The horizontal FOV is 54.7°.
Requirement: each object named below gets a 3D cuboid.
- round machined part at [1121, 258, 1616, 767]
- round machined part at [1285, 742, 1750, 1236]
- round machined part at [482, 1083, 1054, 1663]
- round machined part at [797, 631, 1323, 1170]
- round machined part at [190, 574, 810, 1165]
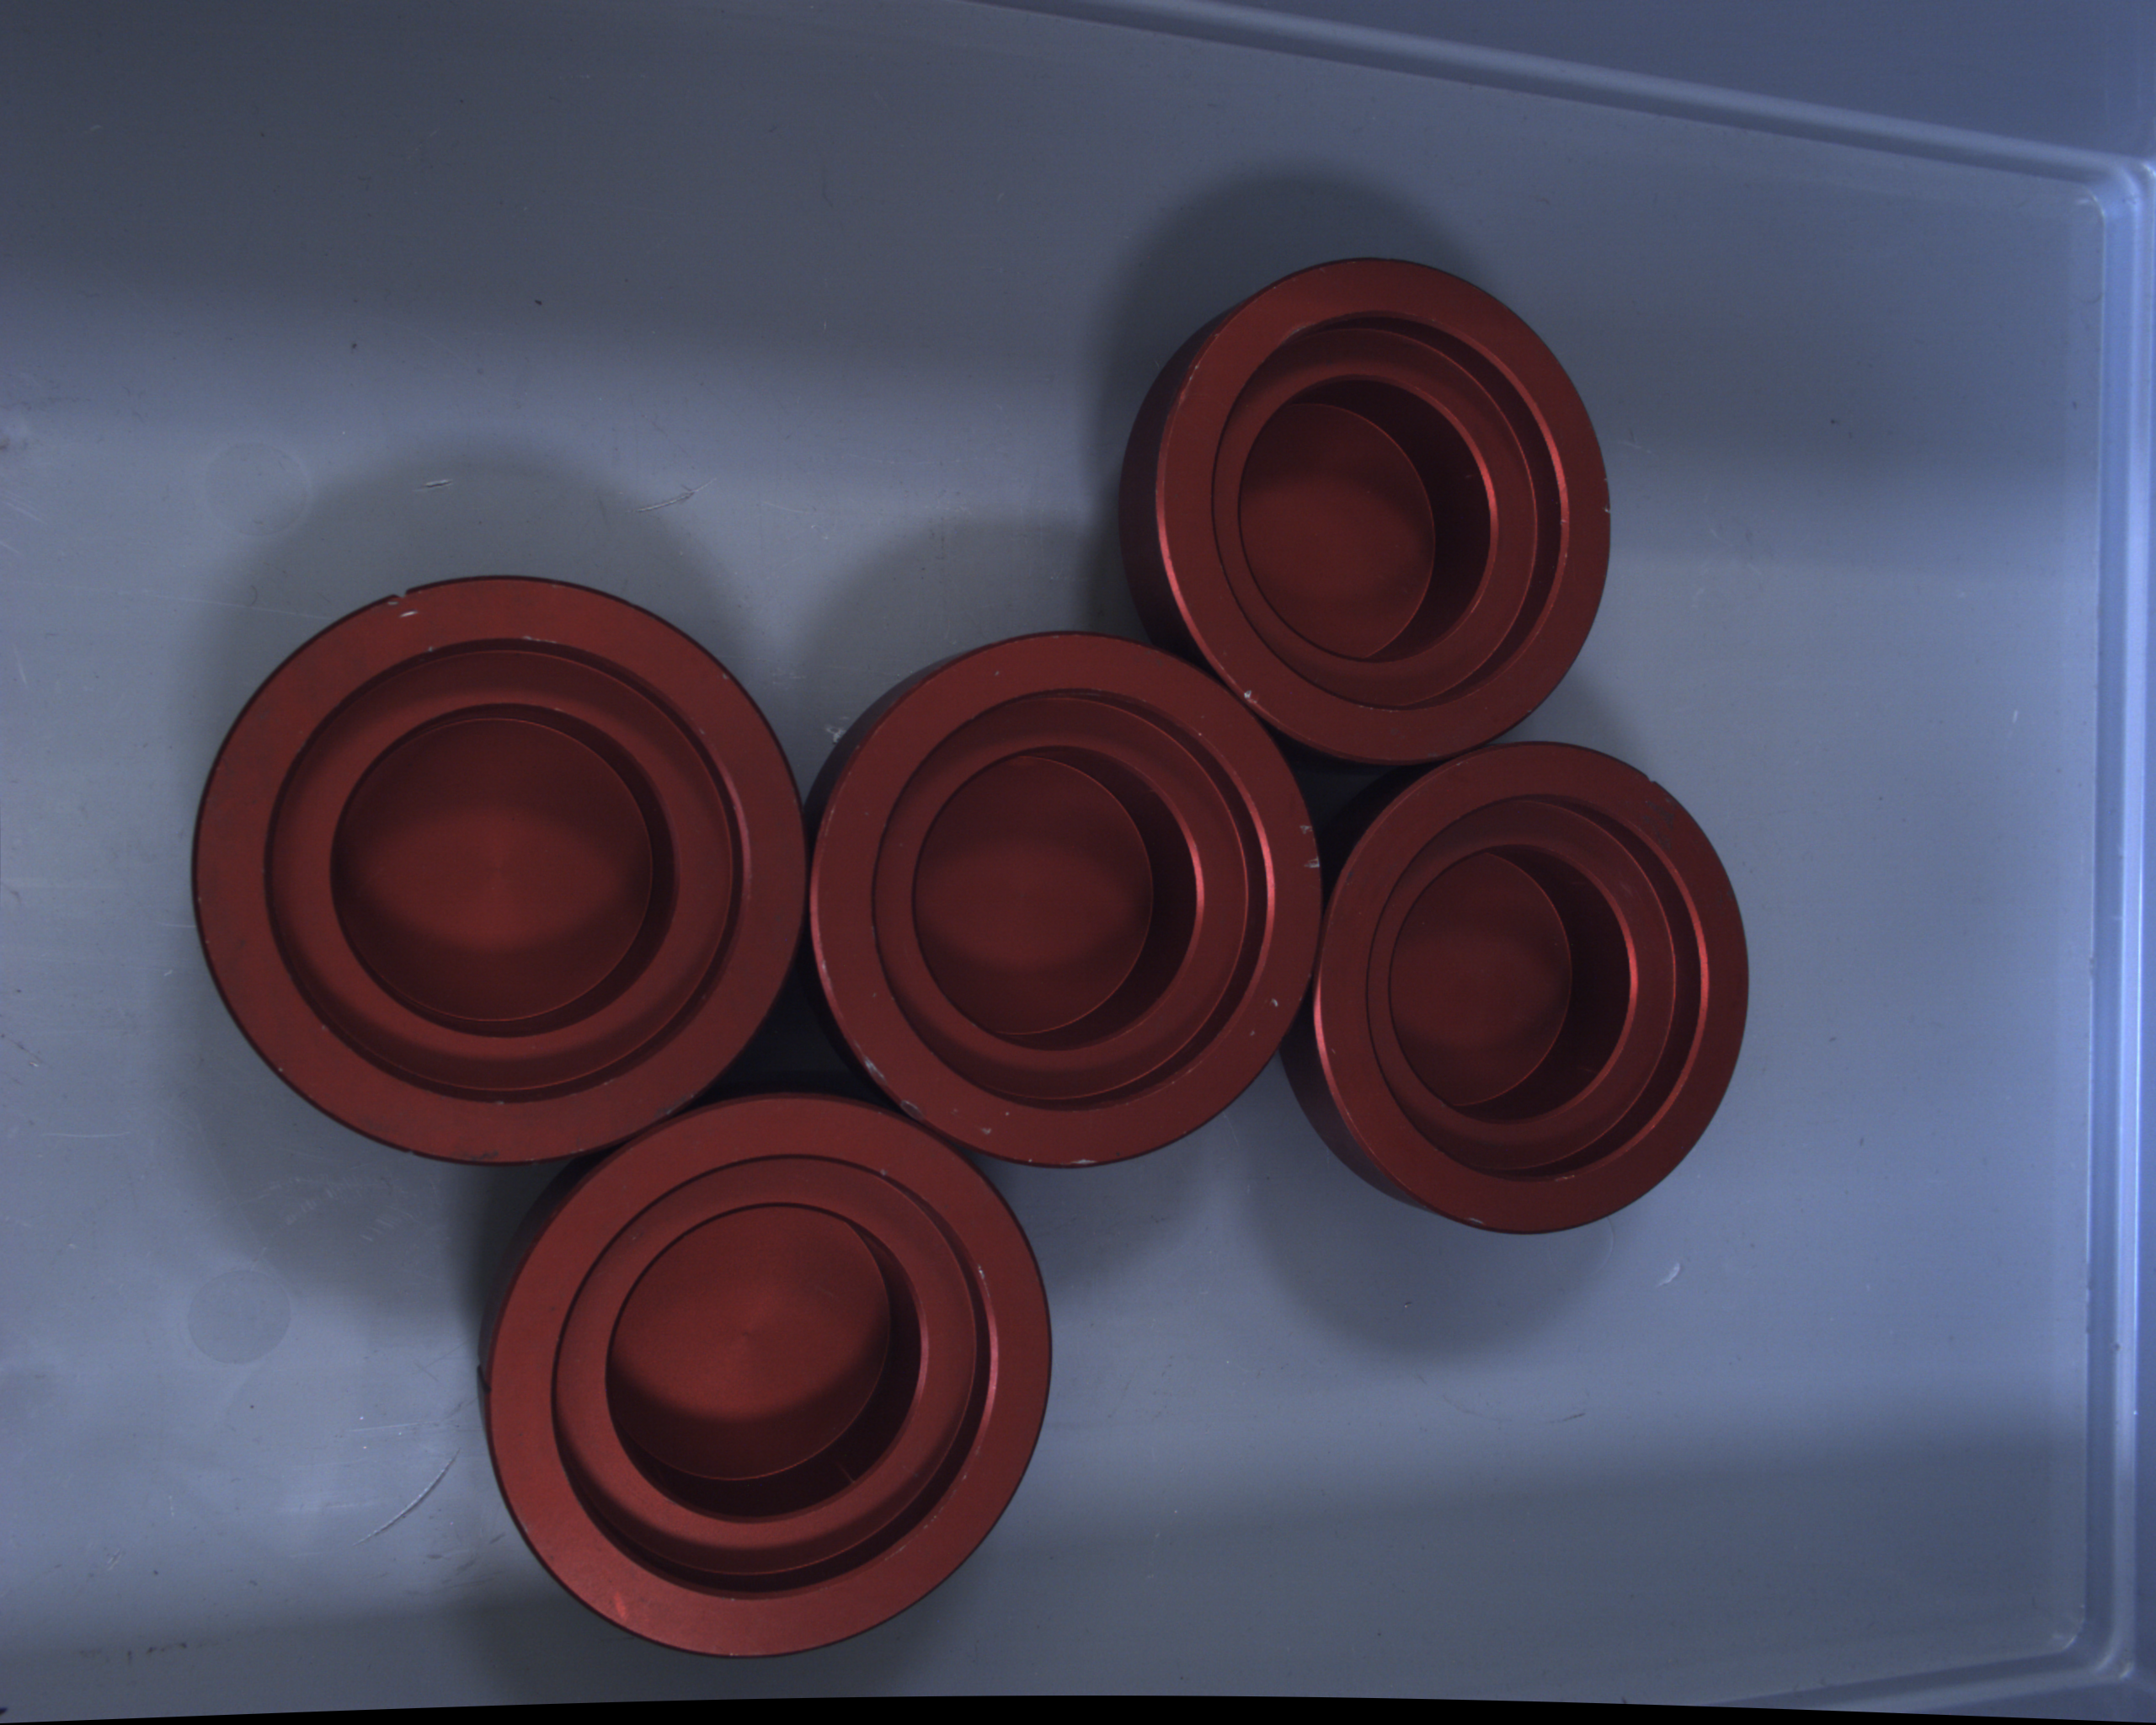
[{"bbox_3d":[0.054,-0.067,0.419,0.099,0.042,0.097,0,90,-20],"label":"round machined part"},{"bbox_3d":[0.085,0.025,0.430,0.099,0.042,0.097,0,90,-20],"label":"round machined part"},{"bbox_3d":[-0.057,0.088,0.377,0.099,0.042,0.097,0,90,-20],"label":"round machined part"},{"bbox_3d":[-0.007,0.007,0.395,0.099,0.042,0.097,0,90,-20],"label":"round machined part"},{"bbox_3d":[-0.100,0.001,0.362,0.099,0.042,0.097,0,90,-20],"label":"round machined part"}]
